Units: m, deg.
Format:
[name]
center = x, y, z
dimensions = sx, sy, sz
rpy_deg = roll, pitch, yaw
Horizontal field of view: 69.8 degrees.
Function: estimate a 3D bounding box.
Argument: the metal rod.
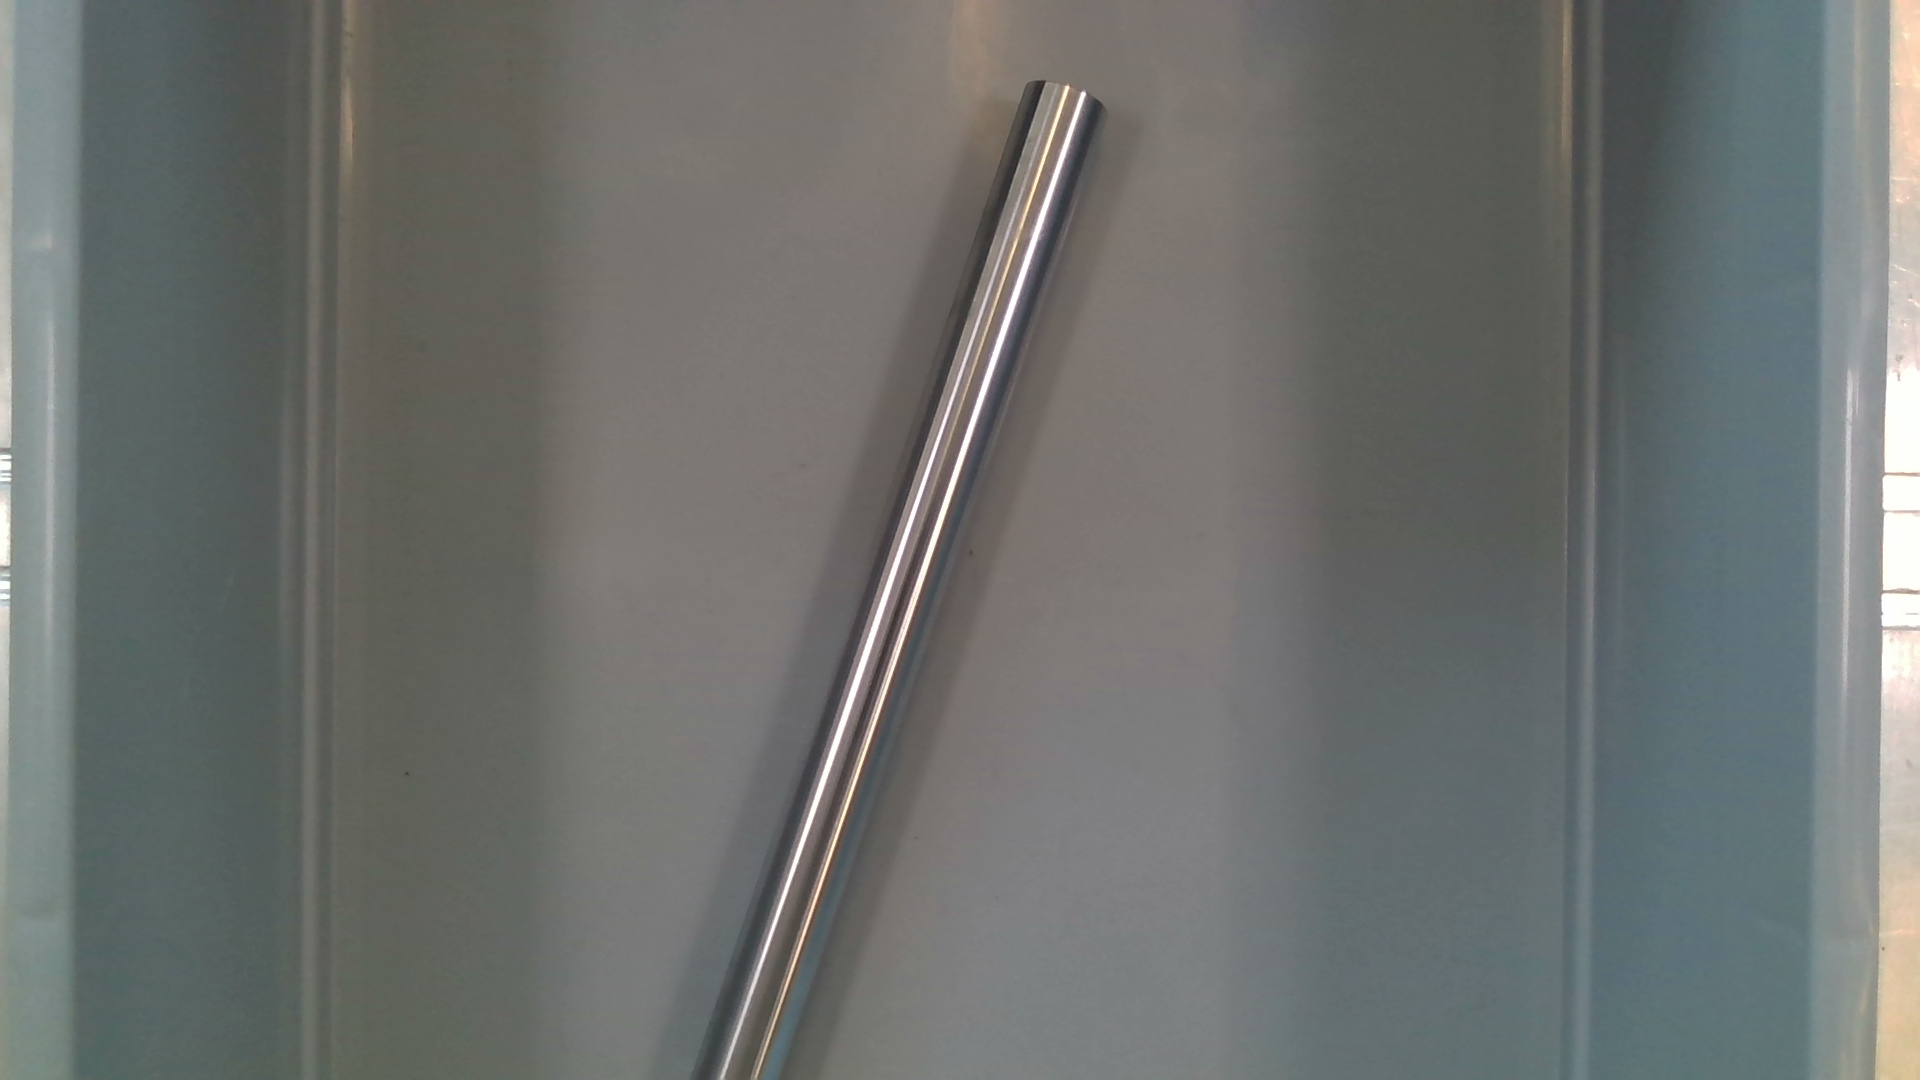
[metal rod]
center = -0.018, 0.016, 0.394
dimensions = 0.025, 0.025, 0.300
rpy_deg = 19, 90, 0
